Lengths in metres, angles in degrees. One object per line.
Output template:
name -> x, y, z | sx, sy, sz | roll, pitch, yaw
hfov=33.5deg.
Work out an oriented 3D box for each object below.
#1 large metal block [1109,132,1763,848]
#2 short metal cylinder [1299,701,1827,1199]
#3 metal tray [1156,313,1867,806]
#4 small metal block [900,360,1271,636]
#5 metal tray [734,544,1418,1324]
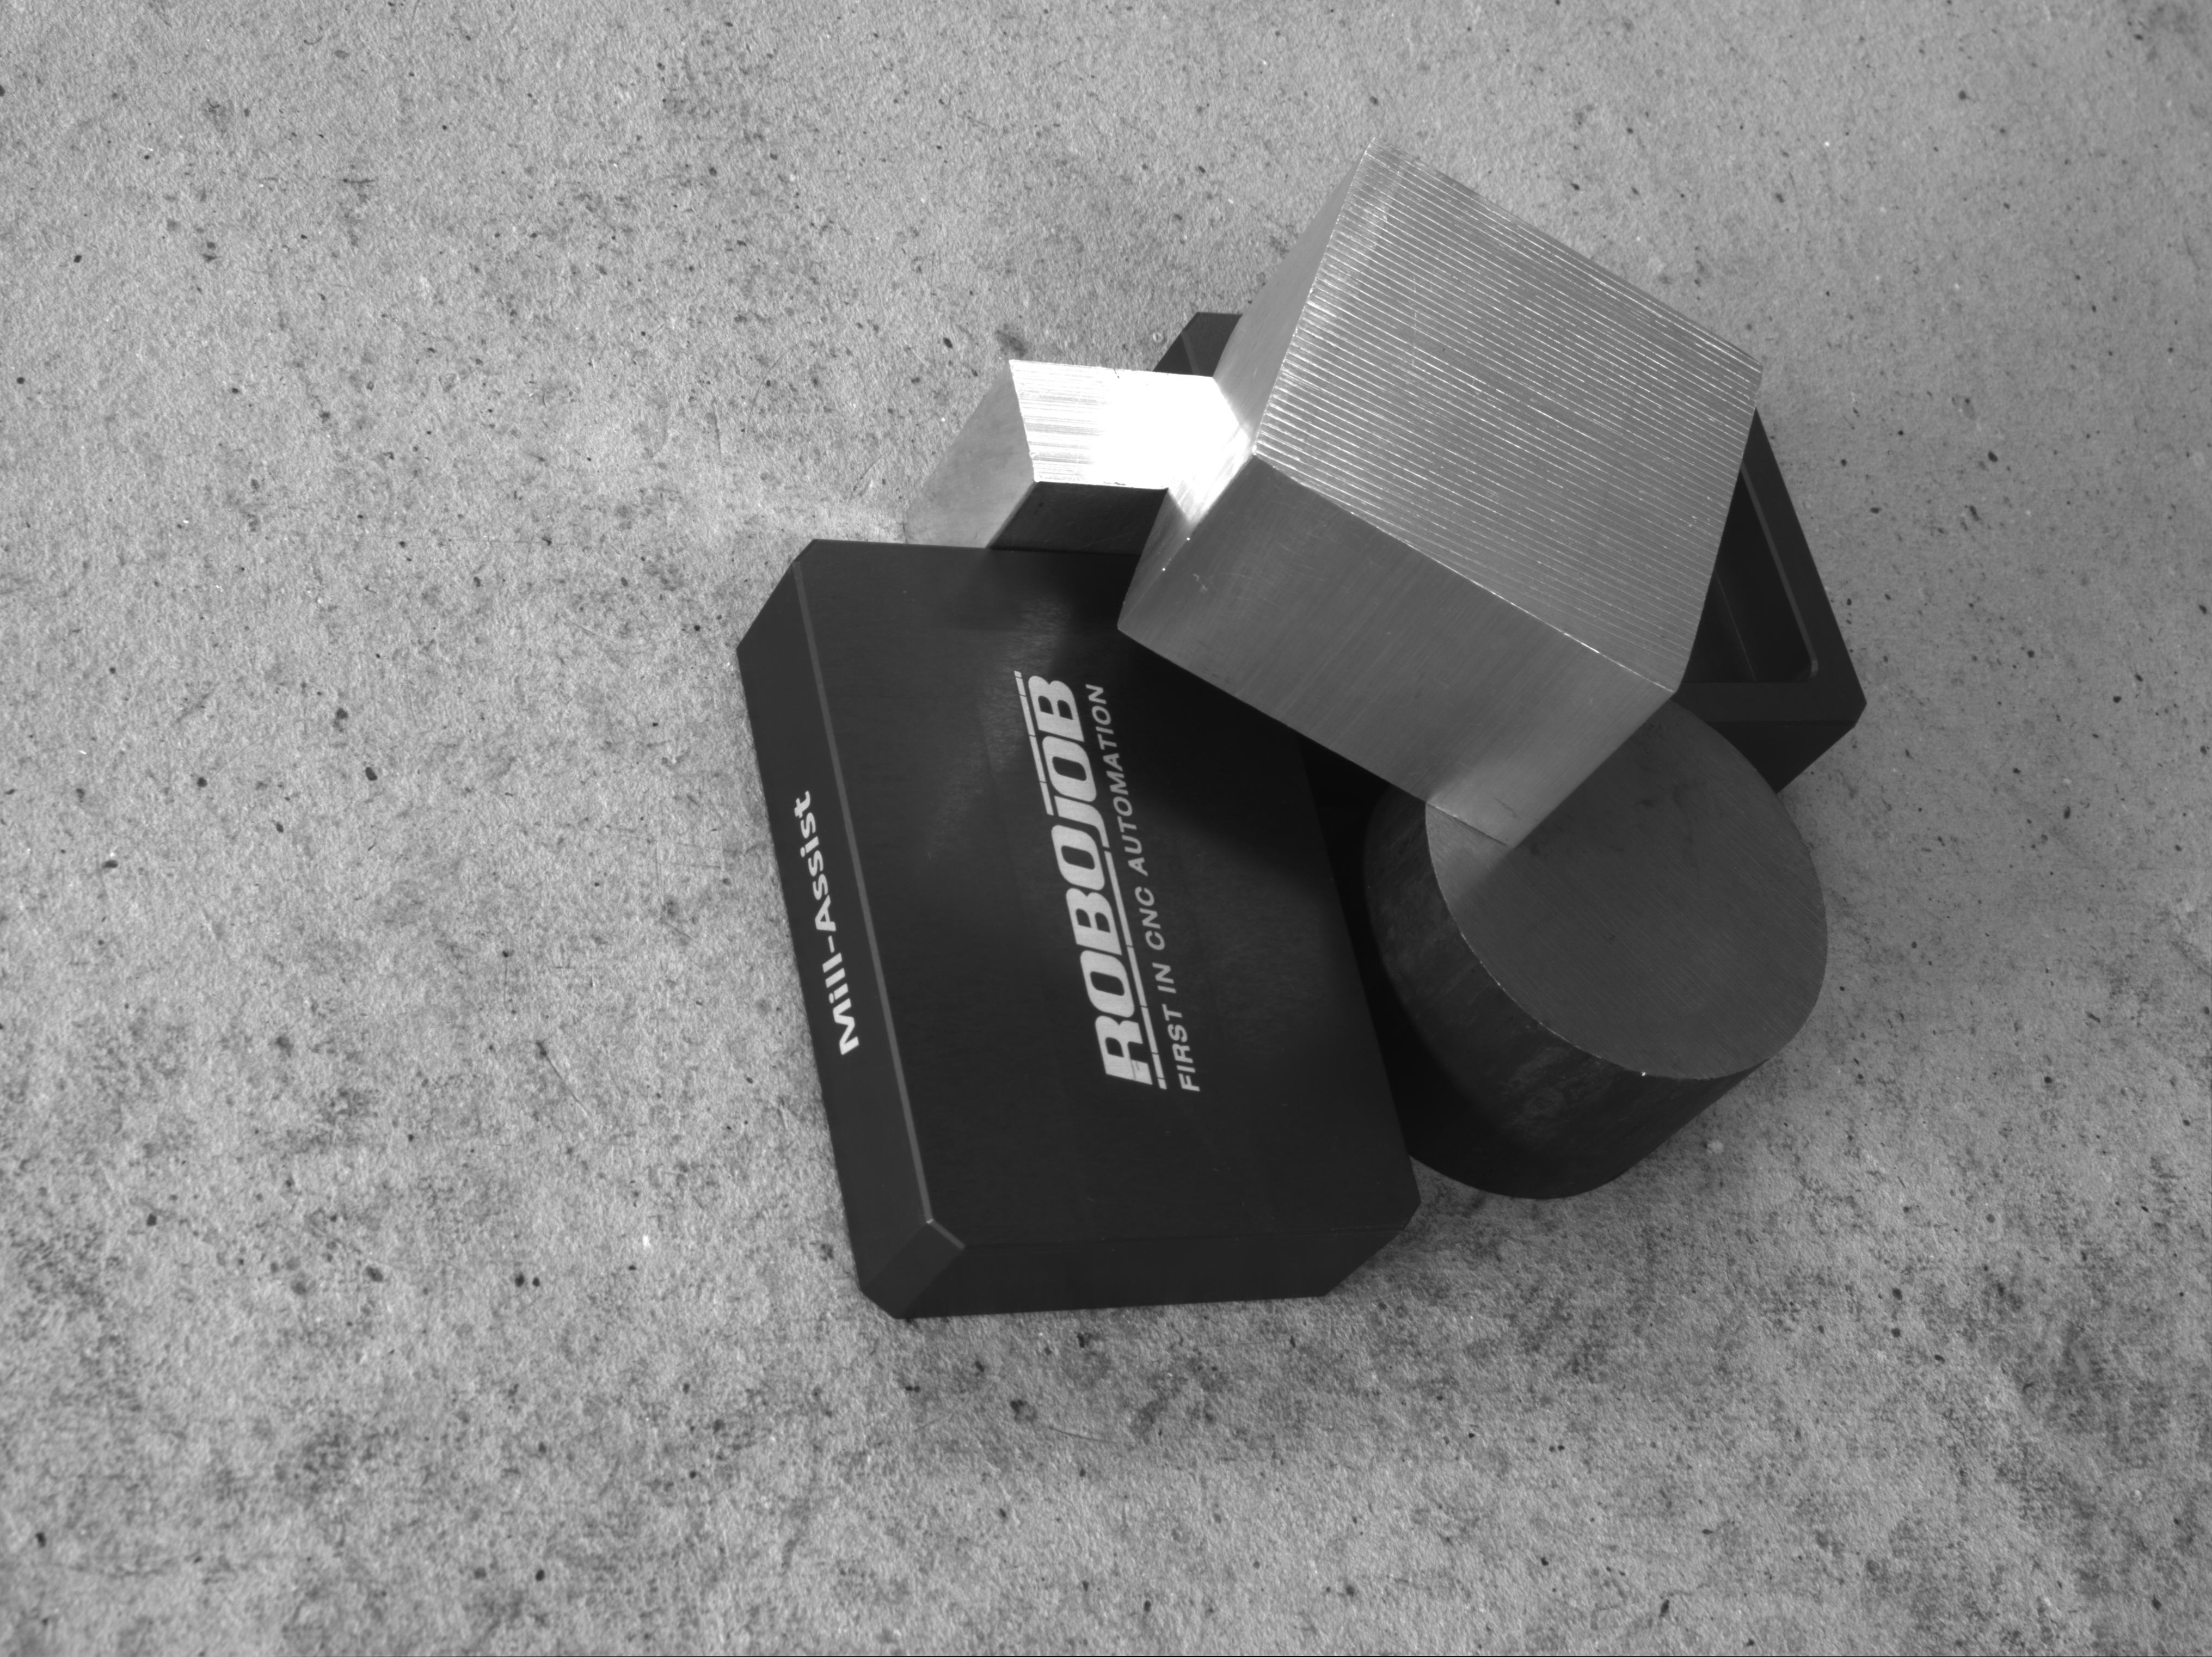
large metal block -> 0.057, -0.057, 0.623 | 0.080, 0.050, 0.080 | 29, 52, -10
short metal cylinder -> 0.080, 0.019, 0.655 | 0.080, 0.050, 0.080 | 13, 56, -20
metal tray -> 0.075, -0.051, 0.708 | 0.130, 0.030, 0.090 | -1, 62, -29
small metal block -> -0.003, -0.057, 0.658 | 0.050, 0.050, 0.025 | 1, 61, -28
metal tray -> -0.007, 0.016, 0.624 | 0.090, 0.030, 0.130 | 1, 61, -27
